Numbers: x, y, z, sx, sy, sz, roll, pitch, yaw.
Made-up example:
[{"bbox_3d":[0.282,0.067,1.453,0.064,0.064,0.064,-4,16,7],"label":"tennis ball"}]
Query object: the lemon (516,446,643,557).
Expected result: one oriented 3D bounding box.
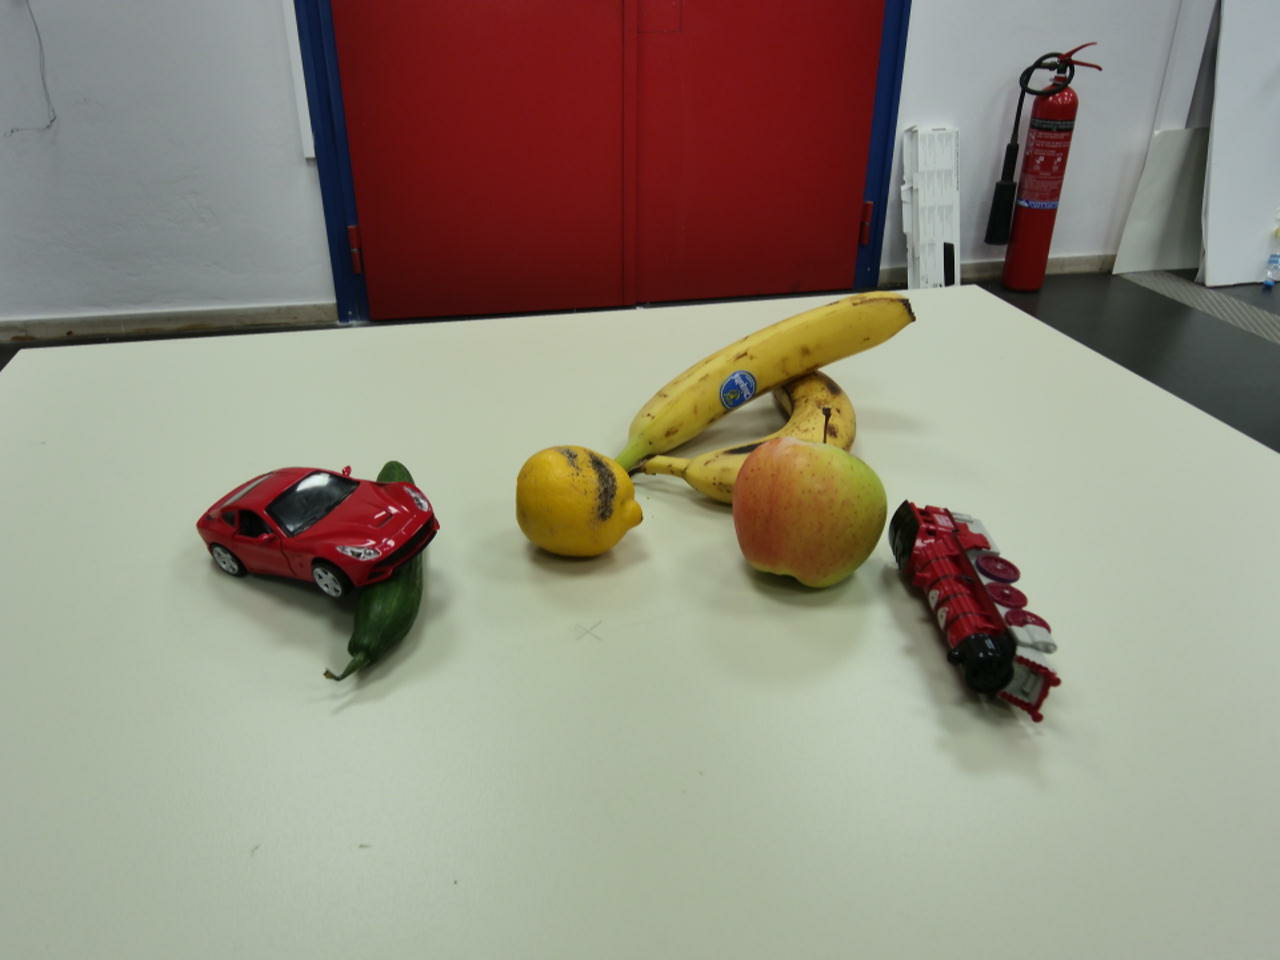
[{"bbox_3d":[-0.033,0.011,0.511,0.061,0.056,0.058,-10,27,-19],"label":"lemon"}]
